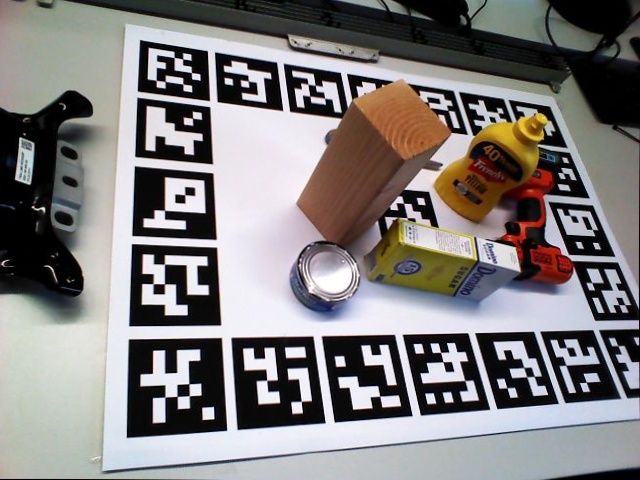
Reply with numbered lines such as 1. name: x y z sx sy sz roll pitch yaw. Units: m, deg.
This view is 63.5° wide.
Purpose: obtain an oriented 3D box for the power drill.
1. power drill: 0.291 -0.032 0.777 0.184 0.058 0.186 15 66 -13

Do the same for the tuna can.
1. tuna can: 0.009 0.041 0.642 0.085 0.034 0.085 9 62 -17

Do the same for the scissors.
1. scissors: 0.097 -0.133 0.781 0.202 0.016 0.087 5 58 -18

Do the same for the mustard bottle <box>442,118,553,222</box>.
1. mustard bottle: 0.260 -0.106 0.735 0.096 0.193 0.058 46 58 6

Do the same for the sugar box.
1. sugar box: 0.172 0.031 0.680 0.176 0.093 0.045 15 56 -15

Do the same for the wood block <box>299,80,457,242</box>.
1. wood block: 0.060 -0.086 0.641 0.090 0.208 0.090 -27 76 -30
